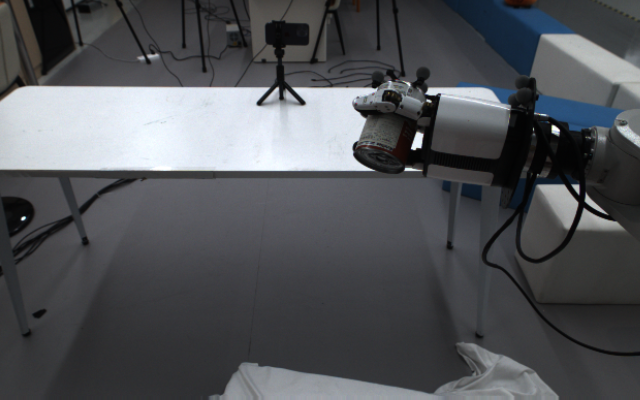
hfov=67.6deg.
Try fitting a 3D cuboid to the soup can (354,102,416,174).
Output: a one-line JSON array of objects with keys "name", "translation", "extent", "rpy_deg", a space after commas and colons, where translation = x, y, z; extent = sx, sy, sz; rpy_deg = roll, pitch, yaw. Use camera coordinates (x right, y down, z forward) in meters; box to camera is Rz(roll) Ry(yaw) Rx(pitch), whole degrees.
[{"name": "soup can", "translation": [0.092, -0.093, 0.624], "extent": [0.067, 0.067, 0.101], "rpy_deg": [15, 74, 18]}]
